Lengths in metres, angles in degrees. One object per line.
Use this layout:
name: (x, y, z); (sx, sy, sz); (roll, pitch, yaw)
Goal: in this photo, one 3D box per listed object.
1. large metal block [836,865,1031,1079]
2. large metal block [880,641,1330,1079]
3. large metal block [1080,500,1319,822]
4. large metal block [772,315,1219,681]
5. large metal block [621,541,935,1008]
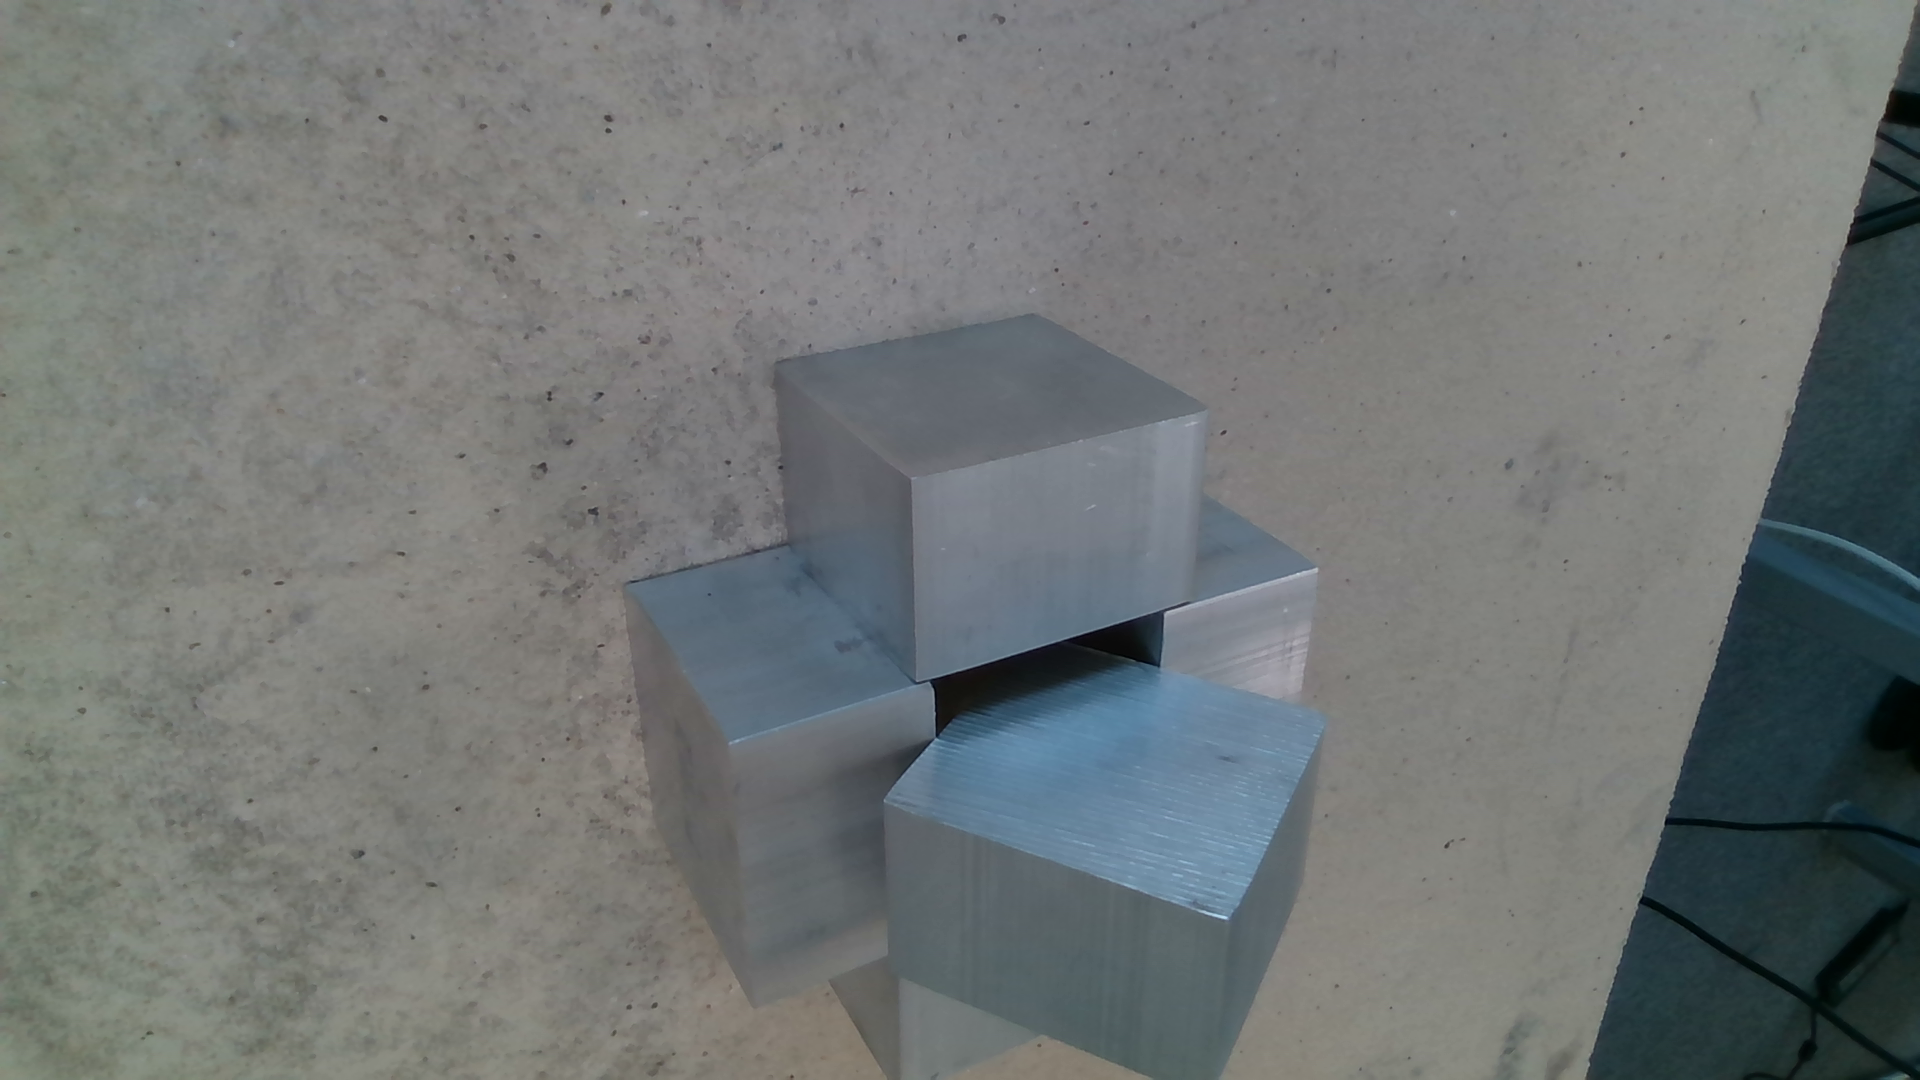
large metal block: (0.000, 0.102, 0.410); (0.080, 0.080, 0.050); (-14, 121, -25)
large metal block: (0.036, 0.071, 0.331); (0.080, 0.080, 0.050); (-42, 139, -52)
large metal block: (0.054, 0.030, 0.405); (0.050, 0.080, 0.080); (-14, 121, -25)
large metal block: (0.006, -0.015, 0.349); (0.080, 0.080, 0.050); (-15, 121, -25)
large metal block: (-0.047, 0.056, 0.357); (0.050, 0.080, 0.080); (-15, 122, -25)
